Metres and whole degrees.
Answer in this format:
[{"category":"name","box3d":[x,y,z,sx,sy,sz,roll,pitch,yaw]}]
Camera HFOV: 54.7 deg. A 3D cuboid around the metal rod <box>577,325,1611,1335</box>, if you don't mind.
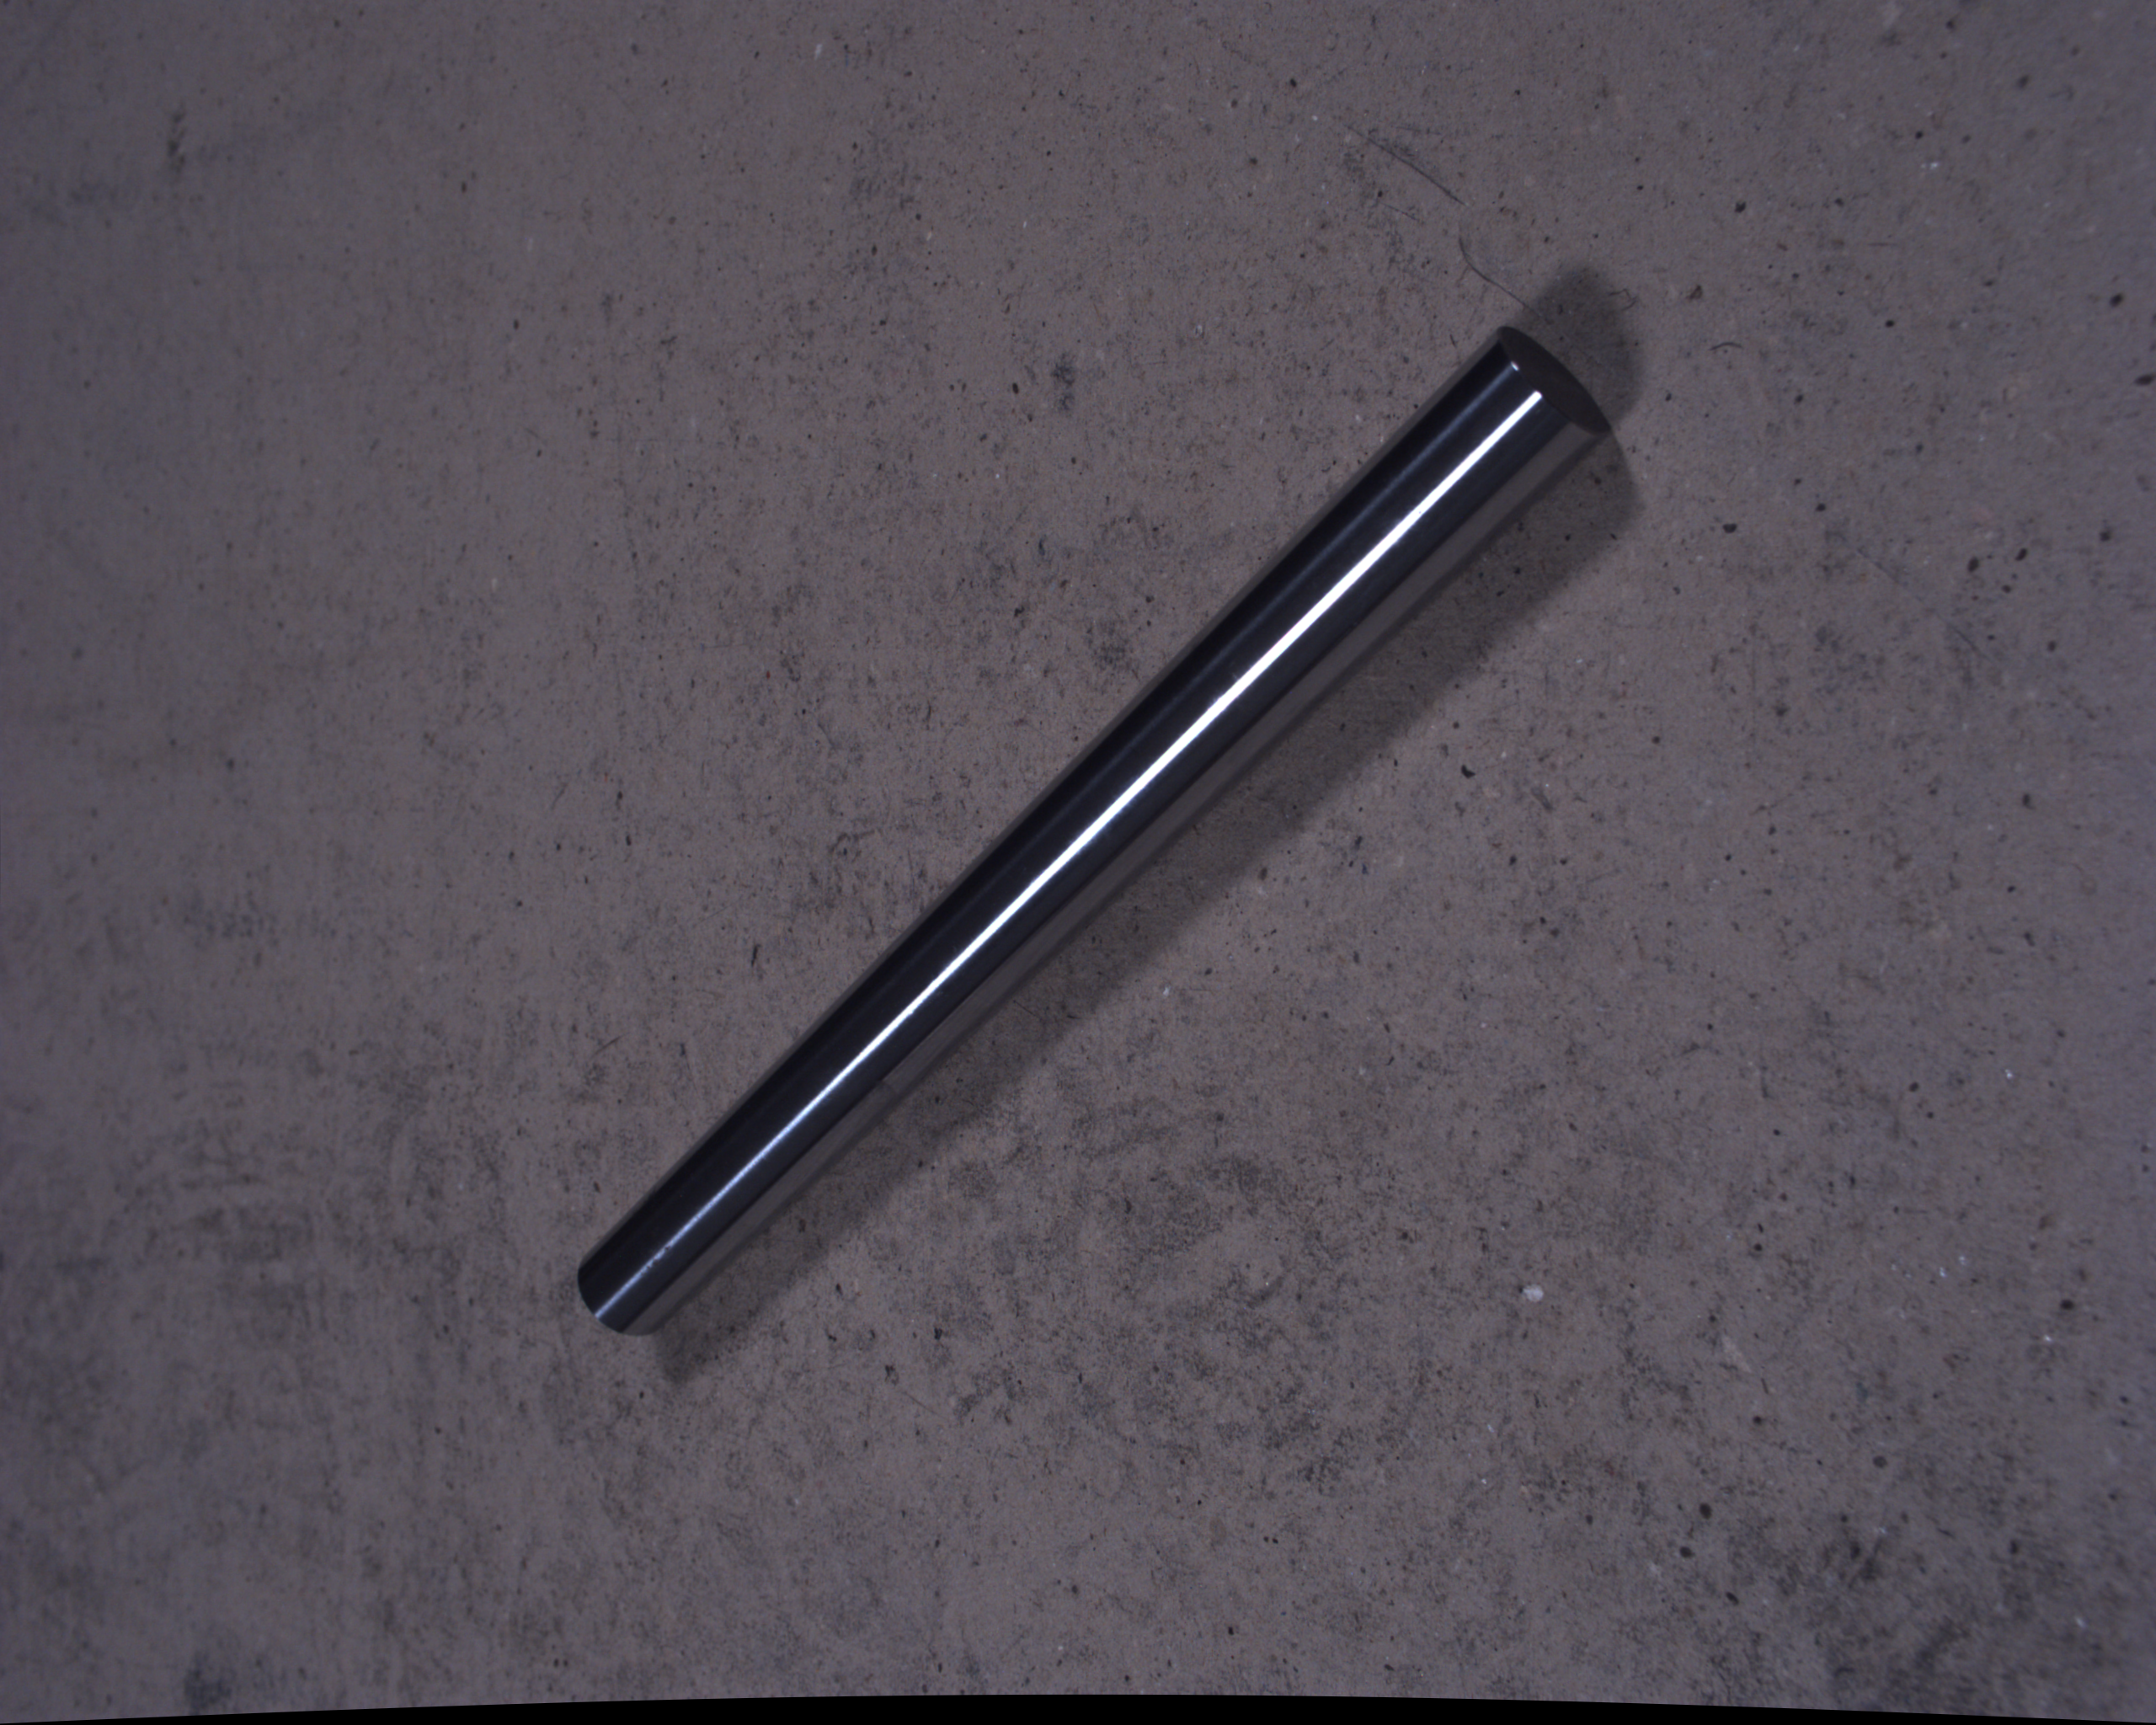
[{"category":"metal rod","box3d":[-0.014,0.011,0.417,0.299,0.025,0.025,-44,64,30]}]
